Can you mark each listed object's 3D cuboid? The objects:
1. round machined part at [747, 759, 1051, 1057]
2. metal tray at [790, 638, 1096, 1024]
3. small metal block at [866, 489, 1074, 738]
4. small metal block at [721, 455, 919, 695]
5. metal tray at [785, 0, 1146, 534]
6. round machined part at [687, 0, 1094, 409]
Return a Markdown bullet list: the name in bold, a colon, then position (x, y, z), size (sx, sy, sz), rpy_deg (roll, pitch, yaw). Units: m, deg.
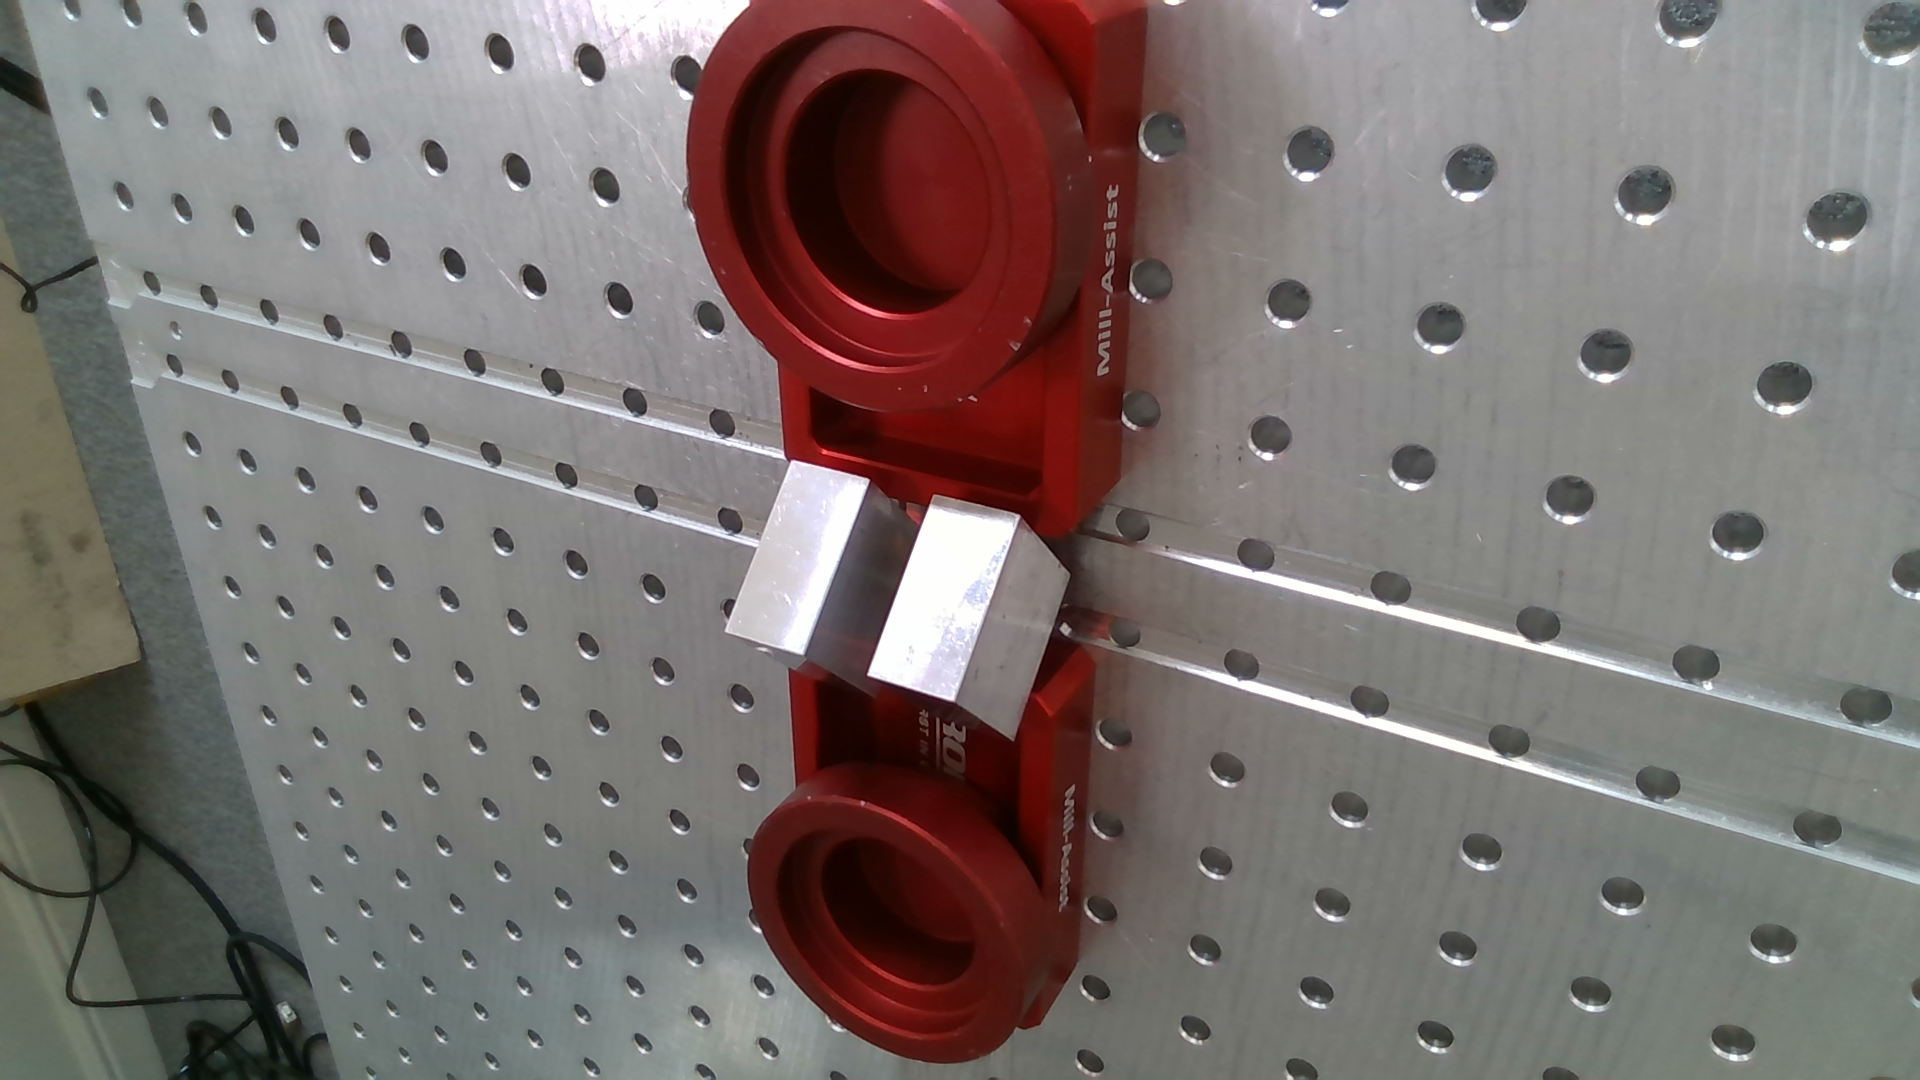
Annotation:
- **round machined part**: position (-0.015, 0.110, 0.435), size (0.098, 0.042, 0.098), rpy_deg (15, 122, 25)
- **metal tray**: position (-0.007, 0.084, 0.440), size (0.090, 0.030, 0.130), rpy_deg (15, 122, 25)
- **small metal block**: position (0.004, 0.021, 0.366), size (0.025, 0.050, 0.050), rpy_deg (15, 78, 24)
- **small metal block**: position (-0.035, 0.011, 0.384), size (0.025, 0.050, 0.050), rpy_deg (15, 78, 24)
- **metal tray**: position (-0.003, -0.074, 0.351), size (0.090, 0.030, 0.130), rpy_deg (15, 122, 27)
- **round machined part**: position (-0.013, -0.084, 0.327), size (0.098, 0.042, 0.098), rpy_deg (15, 122, 25)
